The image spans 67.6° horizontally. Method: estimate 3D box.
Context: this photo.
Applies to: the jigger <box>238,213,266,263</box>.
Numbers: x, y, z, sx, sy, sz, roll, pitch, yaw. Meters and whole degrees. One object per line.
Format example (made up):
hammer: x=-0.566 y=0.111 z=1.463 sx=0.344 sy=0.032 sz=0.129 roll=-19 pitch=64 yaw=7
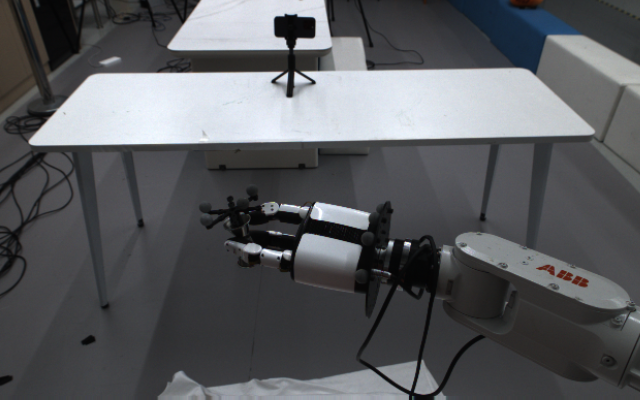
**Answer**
jigger: x=-0.107 y=0.059 z=0.695 sx=0.043 sy=0.071 sz=0.043 roll=-12 pitch=29 yaw=7
